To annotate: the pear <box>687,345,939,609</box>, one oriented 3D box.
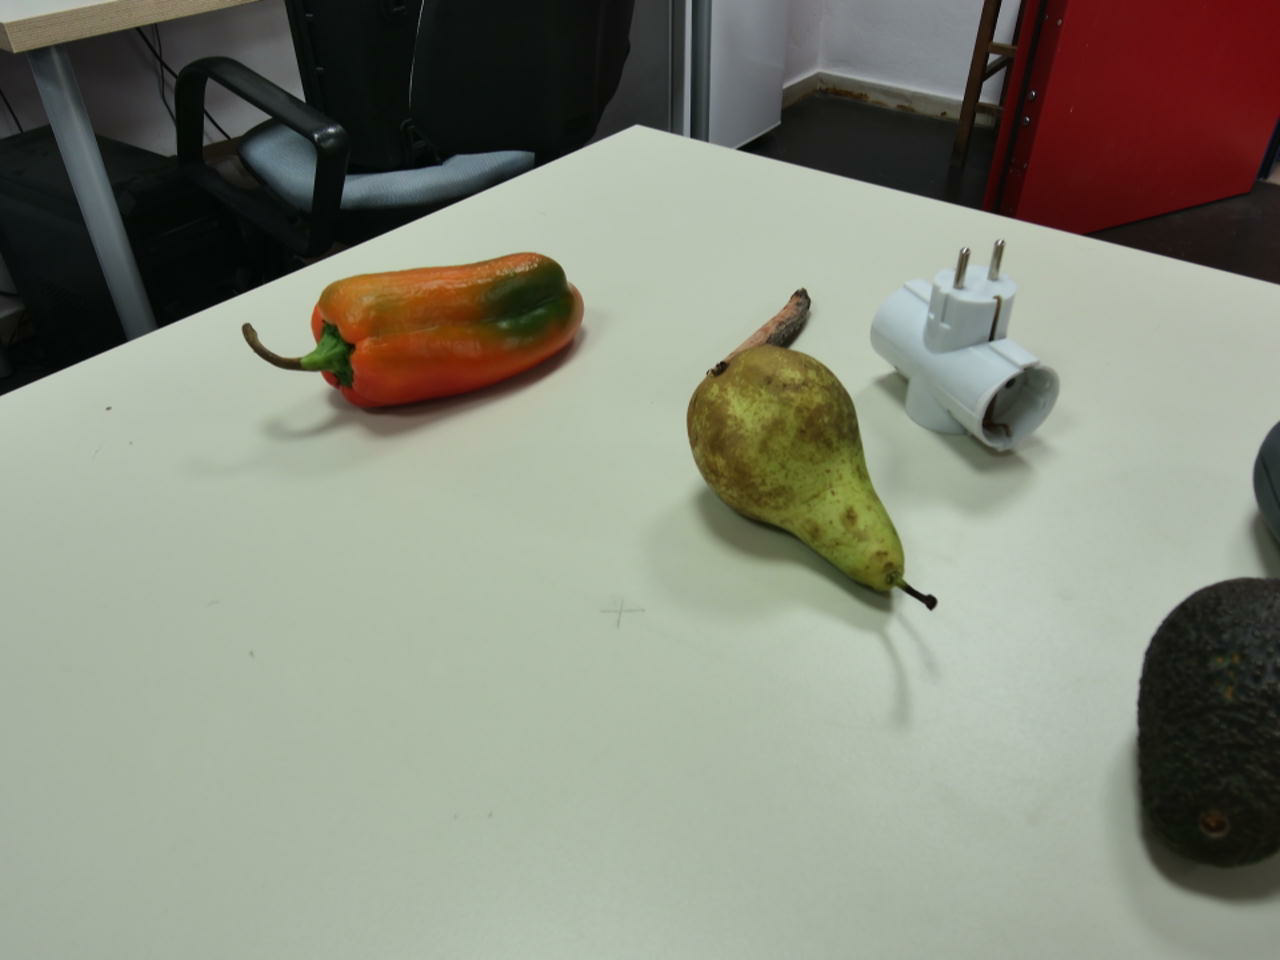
[{"bbox_3d":[0.081,-0.006,0.413,0.071,0.075,0.144,-29,45,-33],"label":"pear"}]
